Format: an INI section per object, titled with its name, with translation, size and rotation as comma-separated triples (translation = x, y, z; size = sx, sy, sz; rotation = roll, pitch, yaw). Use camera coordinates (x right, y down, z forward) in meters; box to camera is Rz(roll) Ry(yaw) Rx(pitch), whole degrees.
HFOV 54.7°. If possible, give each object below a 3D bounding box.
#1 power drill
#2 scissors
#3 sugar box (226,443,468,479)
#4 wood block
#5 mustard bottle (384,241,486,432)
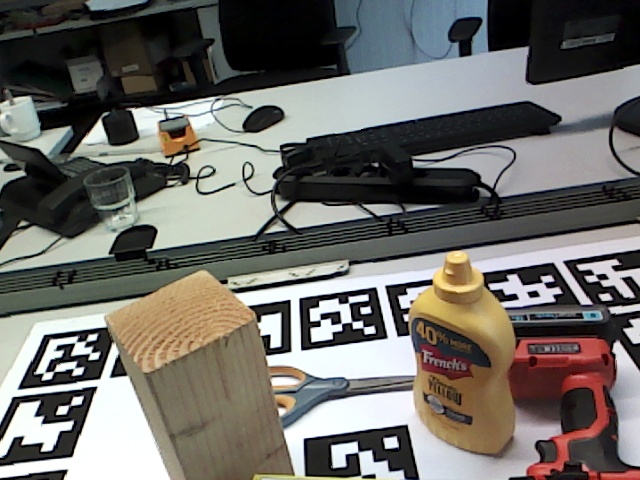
[power drill]
translation = 0.162, 0.152, 0.551
size = 0.185, 0.057, 0.187
rotation = -2, 39, 14
[scissors]
translation = -0.026, 0.139, 0.665
size = 0.203, 0.016, 0.088
rotation = -8, 28, 4
[sugar box]
translation = 0.023, 0.206, 0.475
size = 0.177, 0.092, 0.045
rotation = -1, 29, 11
[wood block]
translation = -0.112, 0.132, 0.539
size = 0.090, 0.205, 0.090
rotation = -25, 35, -22
[mustard bottle]
translation = 0.103, 0.084, 0.566
size = 0.058, 0.191, 0.097
rotation = -33, 39, -31
